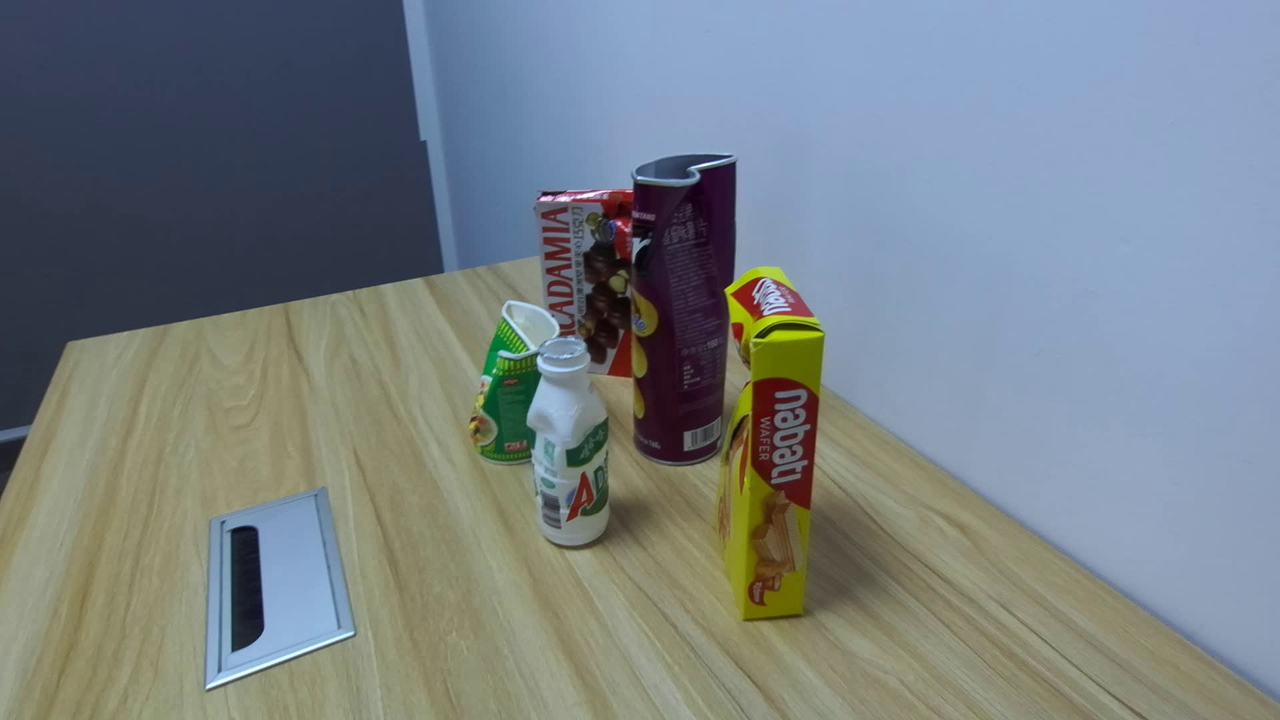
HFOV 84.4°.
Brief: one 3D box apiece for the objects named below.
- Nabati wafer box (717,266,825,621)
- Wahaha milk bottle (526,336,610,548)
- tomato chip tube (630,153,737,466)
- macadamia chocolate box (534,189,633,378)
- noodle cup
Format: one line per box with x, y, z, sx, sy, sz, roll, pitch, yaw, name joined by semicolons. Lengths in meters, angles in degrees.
0.074;0.049;0.431;0.042;0.204;0.106;-4;30;-3;Nabati wafer box
-0.049;0.055;0.481;0.055;0.149;0.055;-1;29;1;Wahaha milk bottle
0.034;-0.033;0.551;0.077;0.235;0.076;3;29;5;tomato chip tube
-0.044;-0.070;0.673;0.102;0.187;0.027;4;28;8;macadamia chocolate box
-0.105;0.022;0.578;0.075;0.122;0.083;20;26;18;noodle cup
